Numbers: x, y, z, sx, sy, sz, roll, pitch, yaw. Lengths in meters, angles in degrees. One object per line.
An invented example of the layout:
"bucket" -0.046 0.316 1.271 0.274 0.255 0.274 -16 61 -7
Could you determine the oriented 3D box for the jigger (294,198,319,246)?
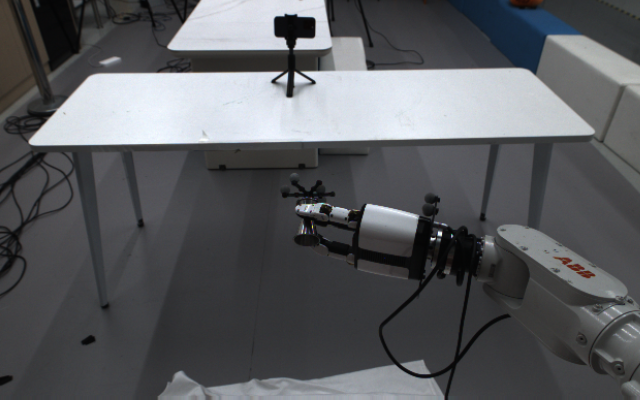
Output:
"jigger" -0.021 0.031 0.775 0.043 0.043 0.071 2 59 -1
